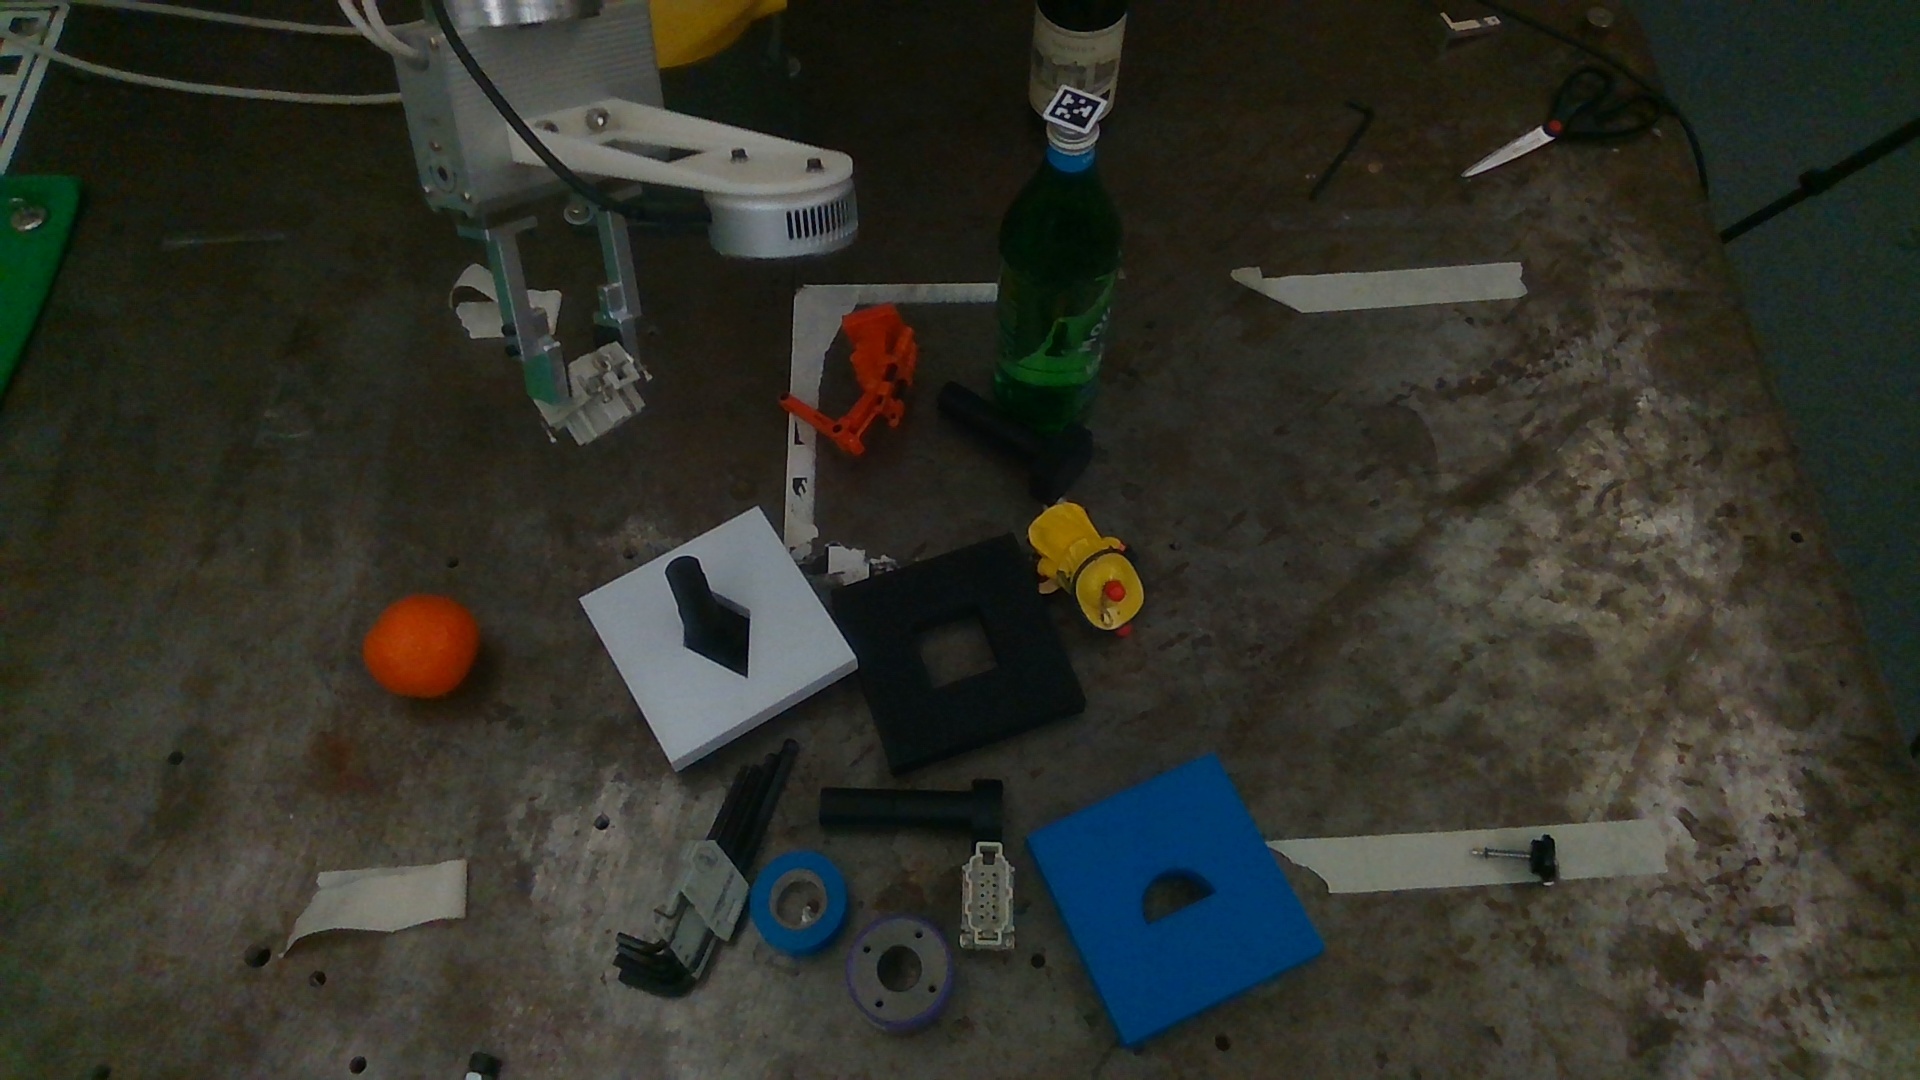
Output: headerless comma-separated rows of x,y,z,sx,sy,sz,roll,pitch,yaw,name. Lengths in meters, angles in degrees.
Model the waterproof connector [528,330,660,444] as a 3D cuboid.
-0.180,-0.073,0.681,0.036,0.069,0.038,-38,101,-48,waterproof connector
